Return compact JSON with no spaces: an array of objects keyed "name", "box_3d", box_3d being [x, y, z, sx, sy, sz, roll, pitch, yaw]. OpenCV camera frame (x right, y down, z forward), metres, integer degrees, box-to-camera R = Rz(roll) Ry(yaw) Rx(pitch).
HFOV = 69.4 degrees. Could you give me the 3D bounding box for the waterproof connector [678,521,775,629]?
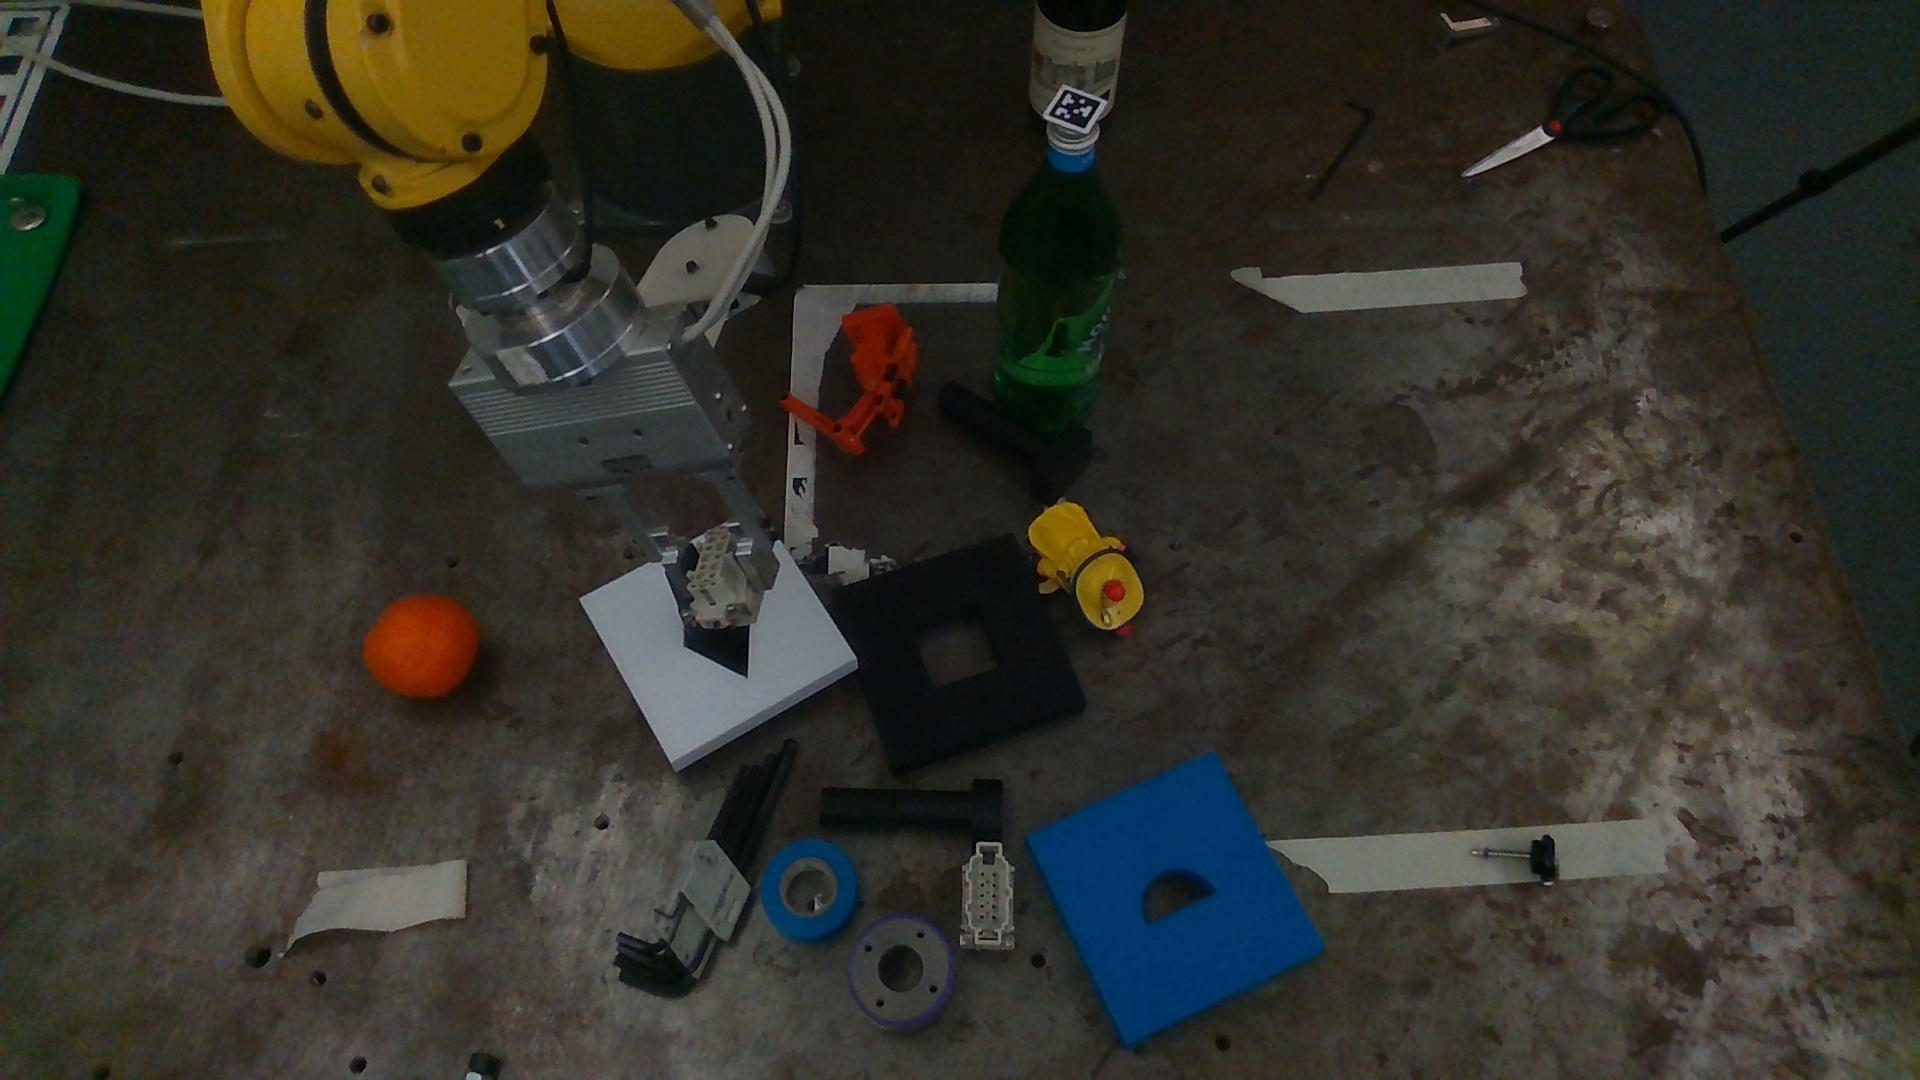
[{"name":"waterproof connector","box_3d":[-0.134,0.019,0.789,0.037,0.038,0.069,-13,41,24]}]
